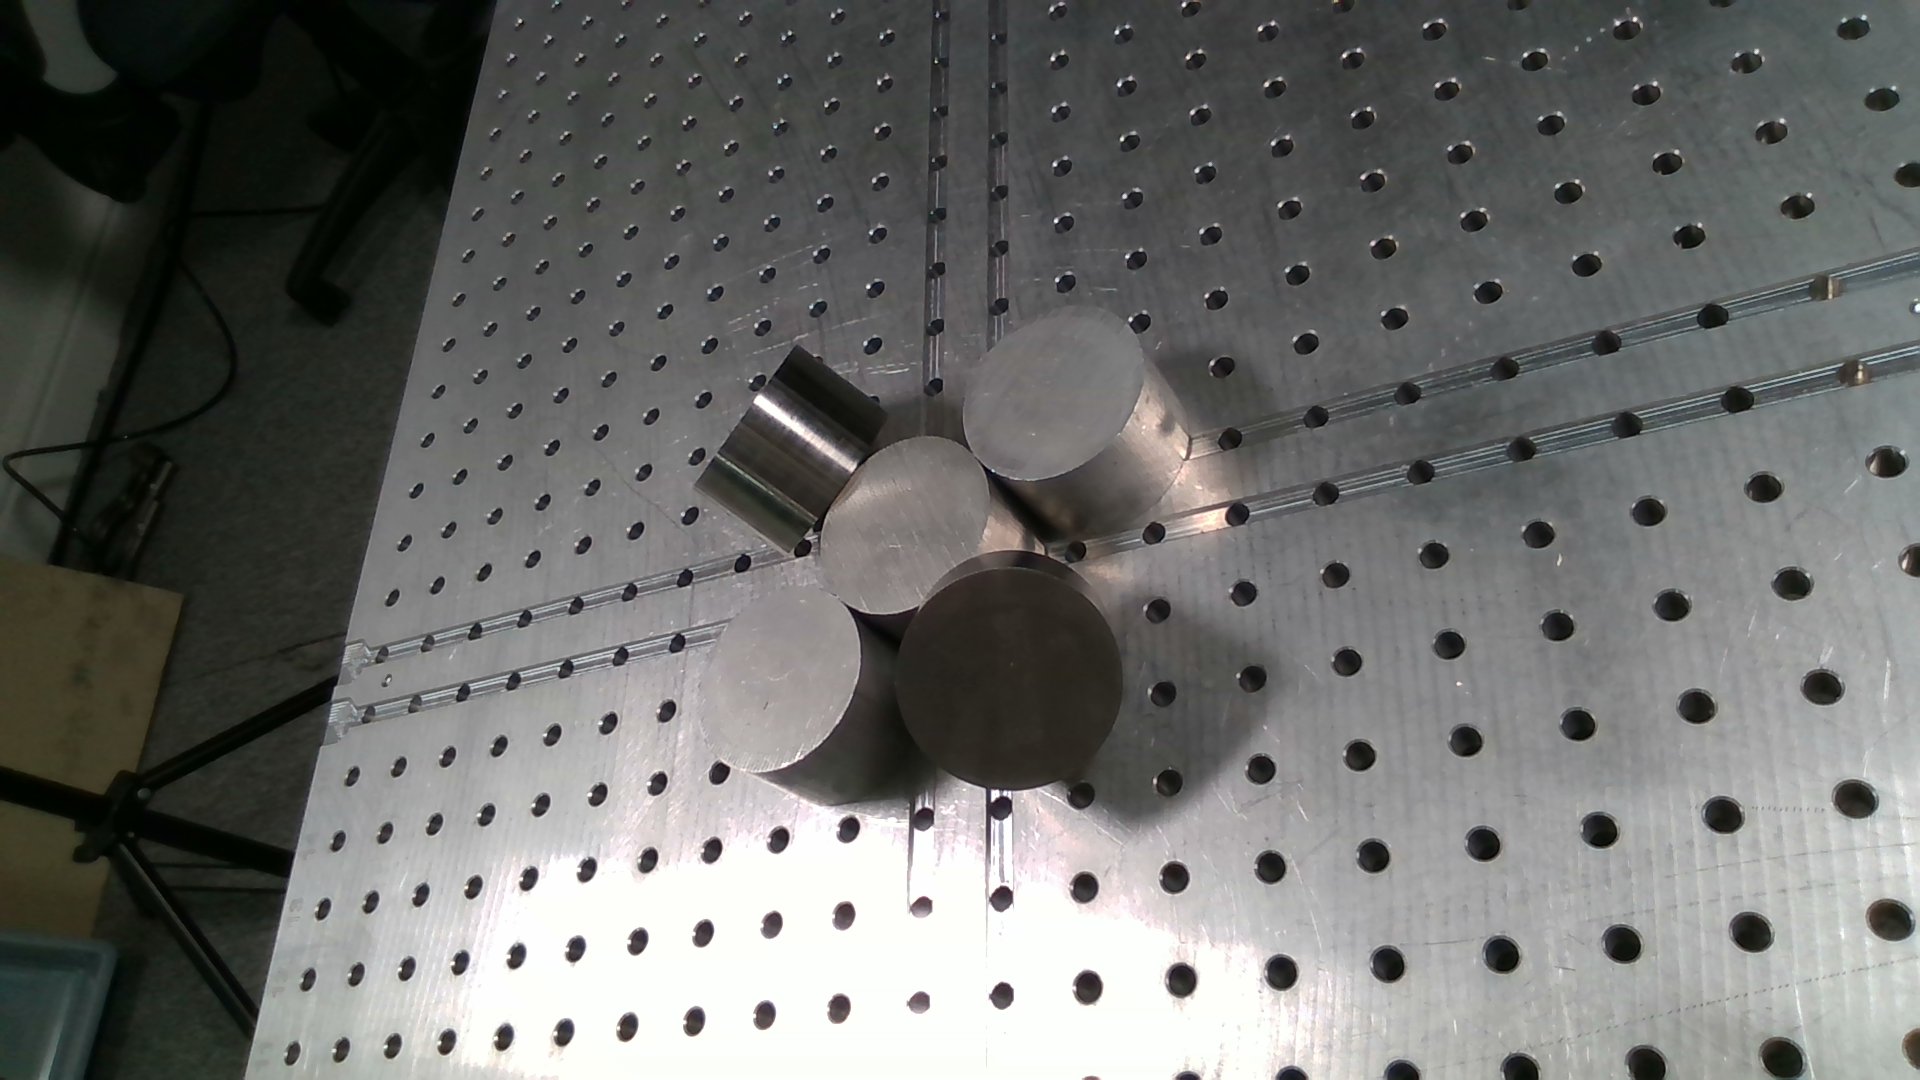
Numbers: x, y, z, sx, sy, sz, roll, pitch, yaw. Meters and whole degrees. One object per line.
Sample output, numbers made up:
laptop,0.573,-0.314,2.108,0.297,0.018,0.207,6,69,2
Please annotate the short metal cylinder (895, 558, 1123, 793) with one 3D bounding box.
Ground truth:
short metal cylinder,0.019,0.047,0.510,0.080,0.050,0.080,0,97,3

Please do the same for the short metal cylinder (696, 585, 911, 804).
short metal cylinder,-0.063,0.066,0.576,0.080,0.050,0.080,-14,59,25

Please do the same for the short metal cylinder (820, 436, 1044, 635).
short metal cylinder,-0.011,0.004,0.577,0.080,0.050,0.080,-14,59,25

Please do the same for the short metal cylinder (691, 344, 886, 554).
short metal cylinder,-0.076,-0.040,0.614,0.080,0.050,0.080,-52,9,13

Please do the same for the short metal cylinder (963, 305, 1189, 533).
short metal cylinder,0.048,-0.049,0.568,0.080,0.050,0.080,-14,59,25
